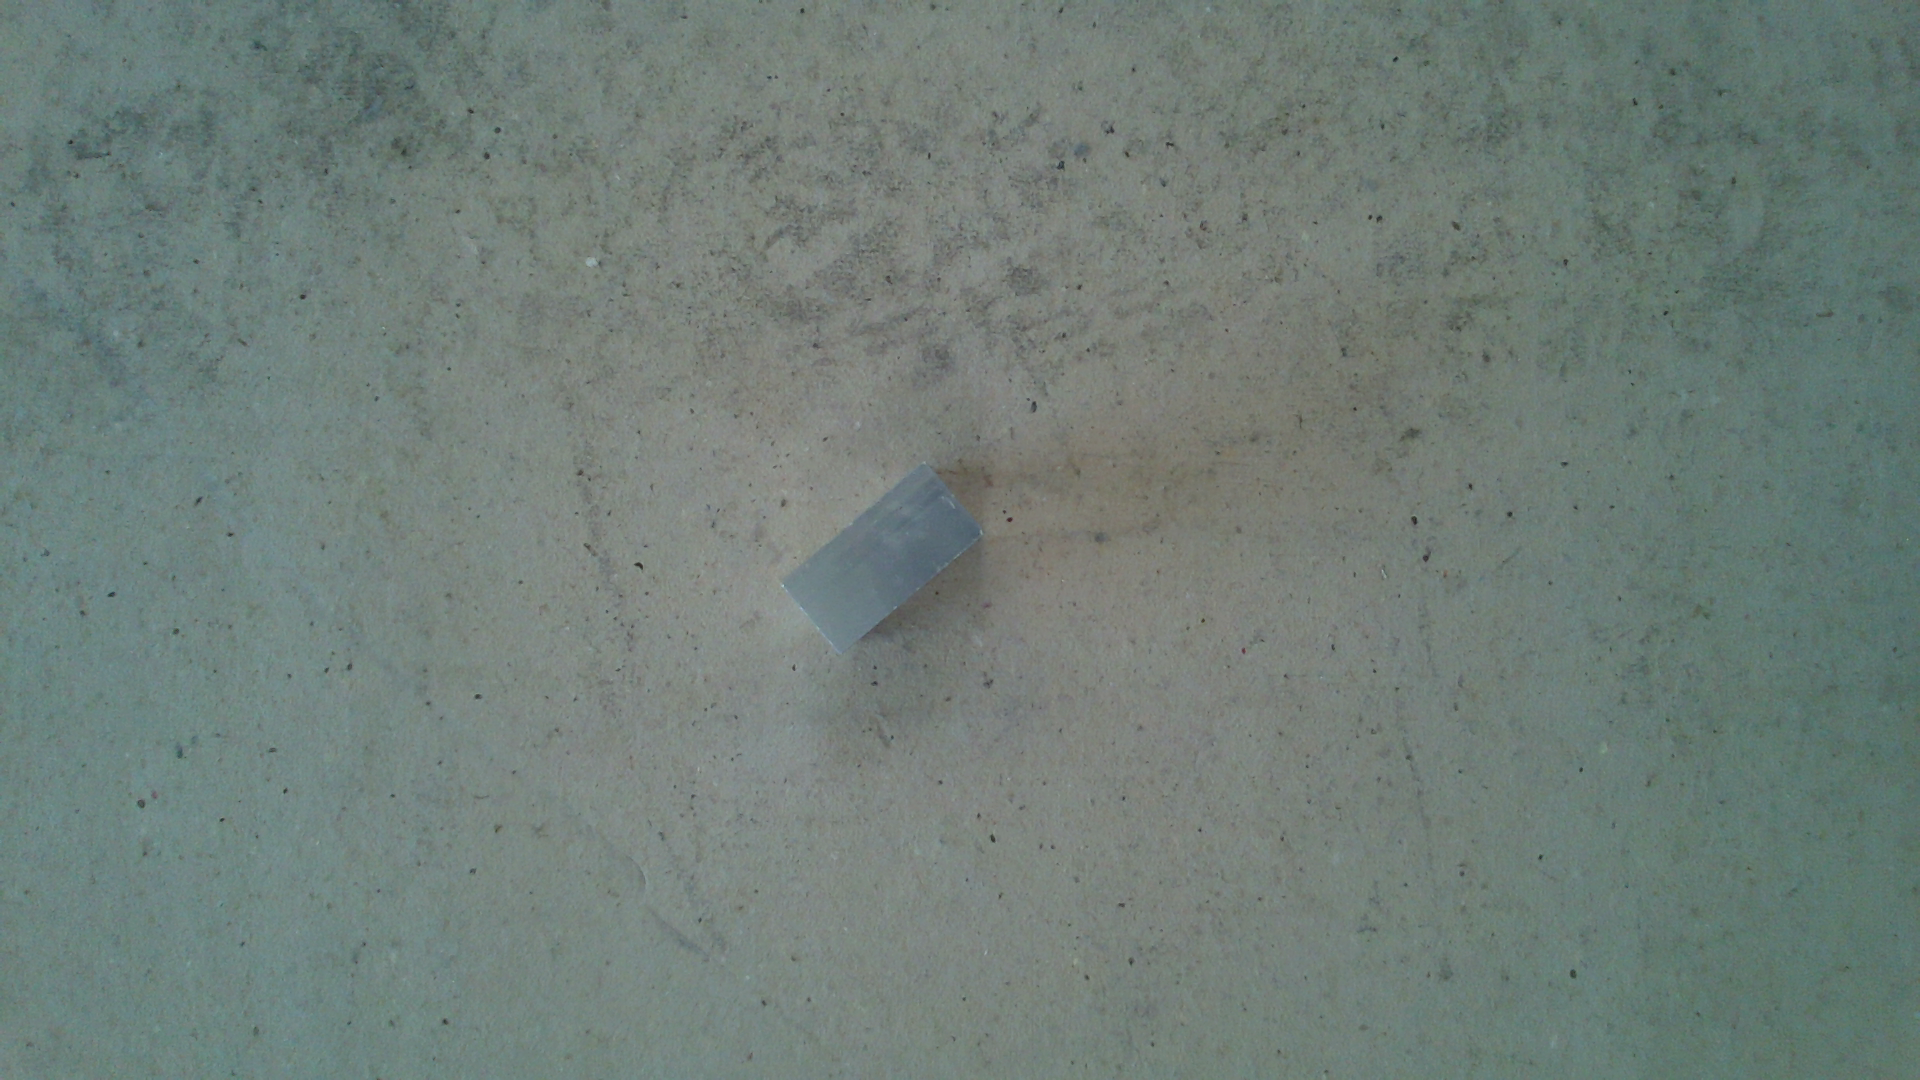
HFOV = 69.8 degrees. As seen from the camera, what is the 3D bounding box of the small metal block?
[{"bbox_3d":[-0.020,0.005,0.383,0.050,0.050,0.025,-40,90,0],"label":"small metal block"}]
